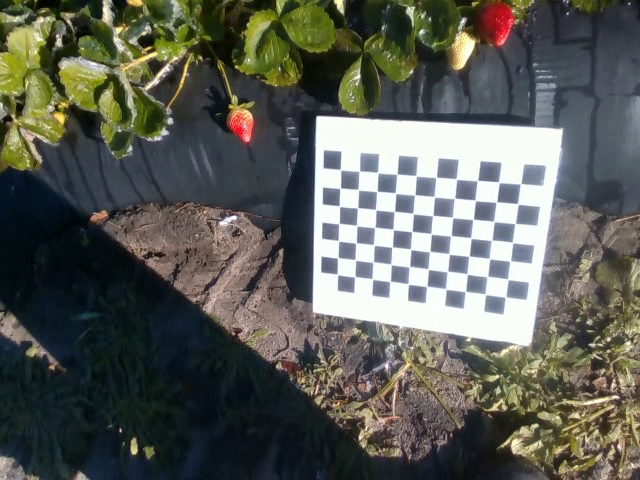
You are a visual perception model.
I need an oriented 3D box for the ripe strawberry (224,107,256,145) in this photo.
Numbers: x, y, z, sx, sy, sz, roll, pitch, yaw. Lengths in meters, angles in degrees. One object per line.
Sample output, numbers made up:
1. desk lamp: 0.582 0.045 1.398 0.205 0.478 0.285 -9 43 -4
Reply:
1. ripe strawberry: -0.099 -0.149 0.822 0.039 0.053 0.040 -16 -5 23
